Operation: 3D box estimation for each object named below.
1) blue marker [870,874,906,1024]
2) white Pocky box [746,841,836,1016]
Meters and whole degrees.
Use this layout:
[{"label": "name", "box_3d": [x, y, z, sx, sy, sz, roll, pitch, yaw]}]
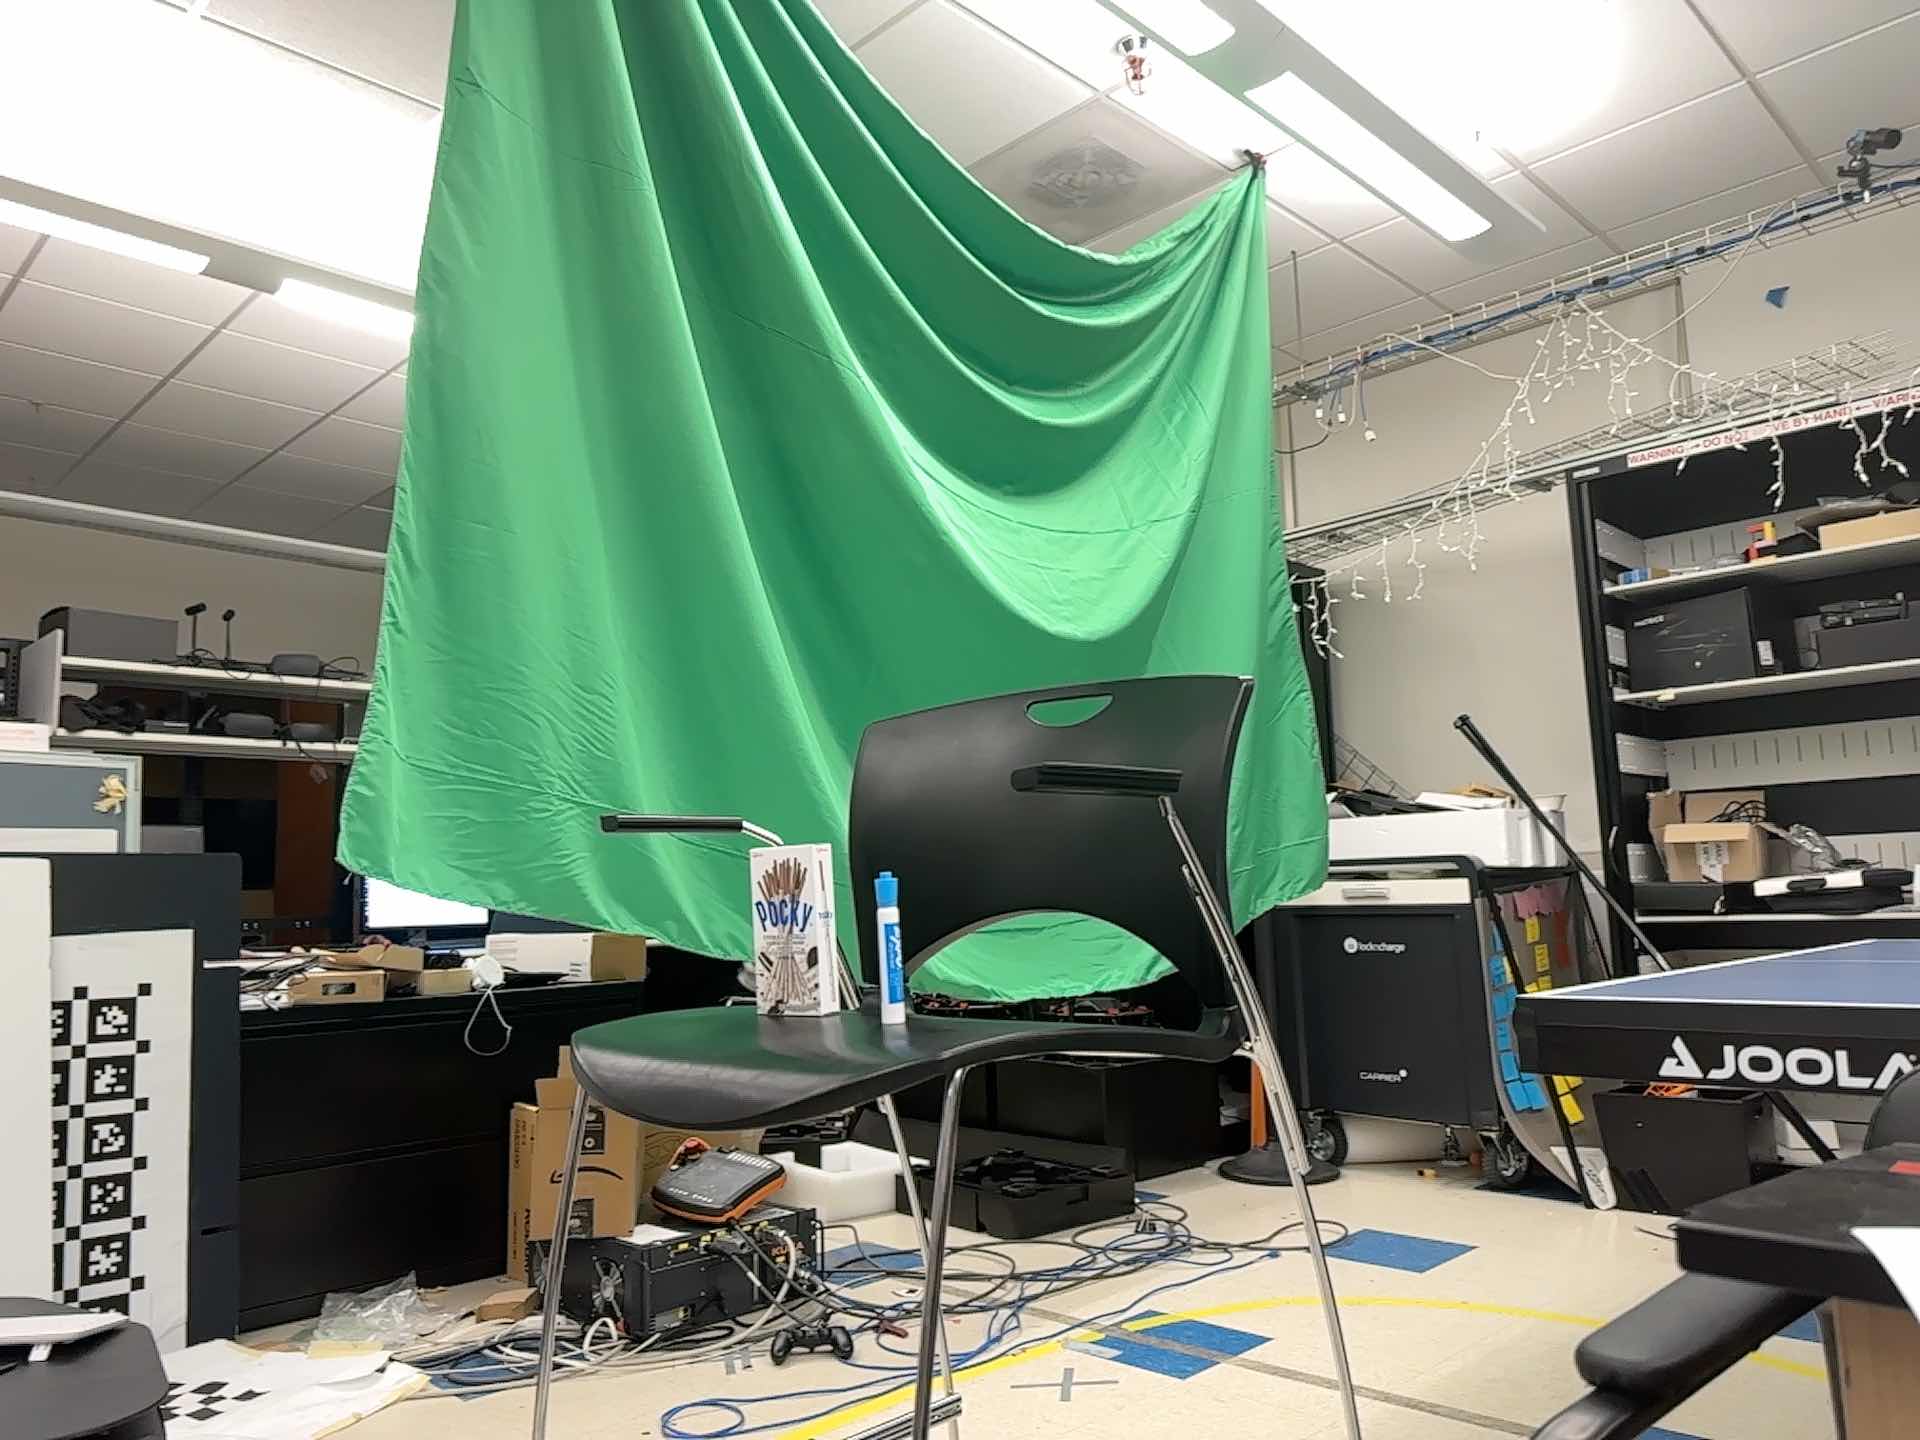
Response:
[{"label": "blue marker", "box_3d": [-0.060, 0.188, 1.113, 0.020, 0.121, 0.020, -5, -4, 0]}, {"label": "white Pocky box", "box_3d": [-0.155, 0.188, 1.225, 0.084, 0.154, 0.028, -7, -5, 39]}]
